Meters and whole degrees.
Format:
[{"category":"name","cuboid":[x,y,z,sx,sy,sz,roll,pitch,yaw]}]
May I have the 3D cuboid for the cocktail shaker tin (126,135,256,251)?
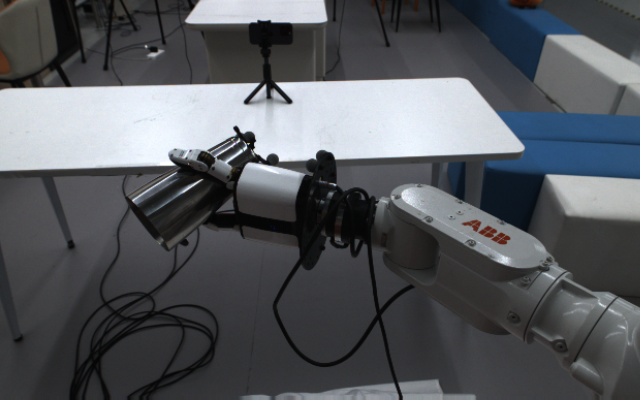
[{"category":"cocktail shaker tin","cuboid":[-0.169,-0.021,0.672,0.170,0.093,0.093,-38,49,-23]}]
